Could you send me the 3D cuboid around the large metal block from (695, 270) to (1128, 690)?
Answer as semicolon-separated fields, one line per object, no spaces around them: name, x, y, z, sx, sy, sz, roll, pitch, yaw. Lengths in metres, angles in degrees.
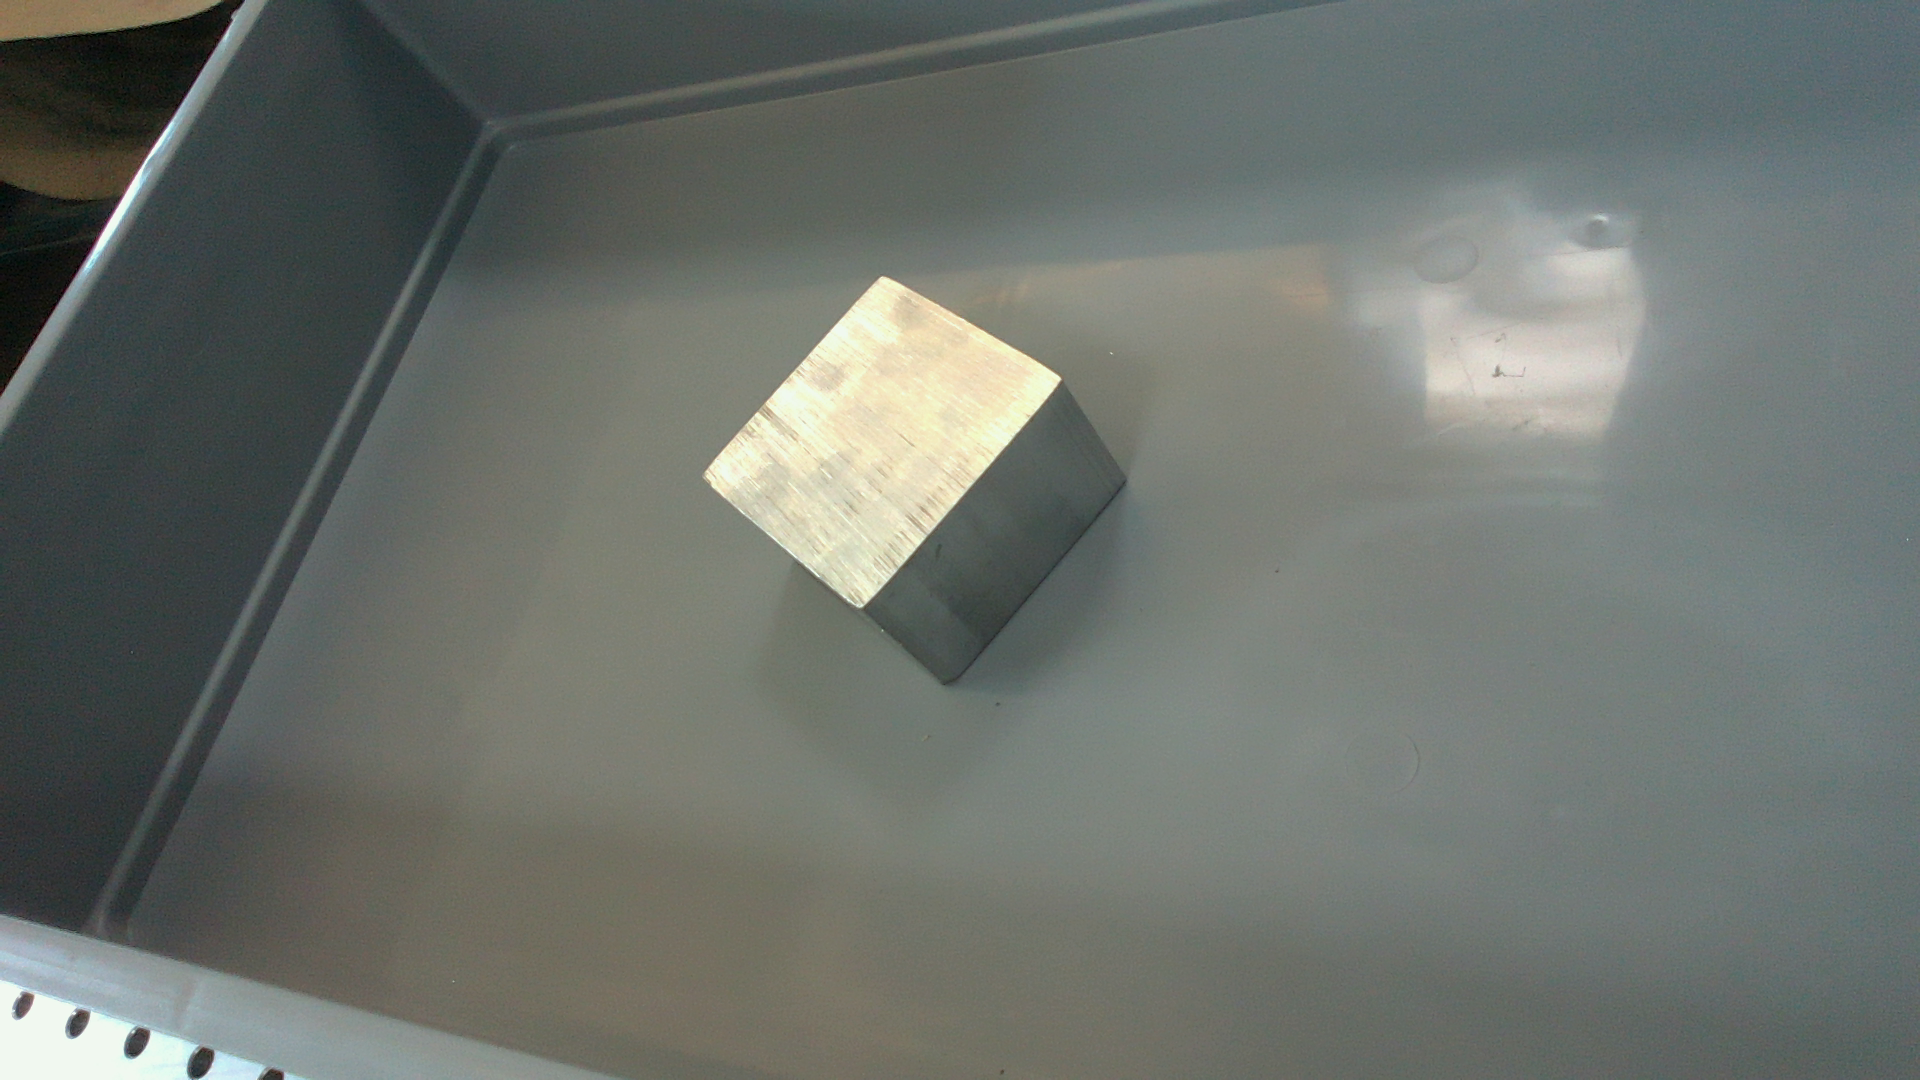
large metal block;-0.014;-0.019;0.393;0.080;0.050;0.080;-49;51;-7
